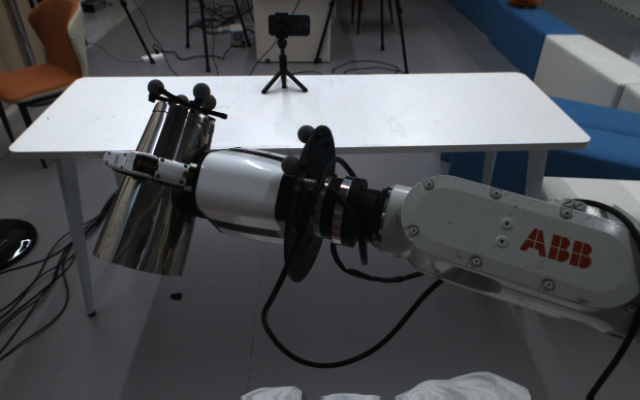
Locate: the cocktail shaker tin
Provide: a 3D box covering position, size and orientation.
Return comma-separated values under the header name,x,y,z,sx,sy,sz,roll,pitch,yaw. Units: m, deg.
name,x,y,z,sx,sy,sz,roll,pitch,yaw
cocktail shaker tin,-0.168,-0.012,0.517,0.093,0.170,0.093,15,-6,2
